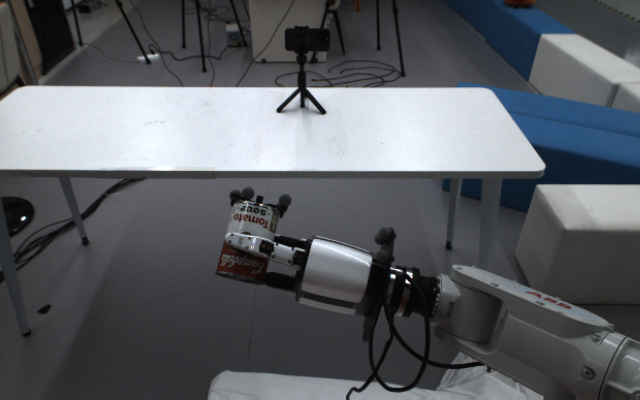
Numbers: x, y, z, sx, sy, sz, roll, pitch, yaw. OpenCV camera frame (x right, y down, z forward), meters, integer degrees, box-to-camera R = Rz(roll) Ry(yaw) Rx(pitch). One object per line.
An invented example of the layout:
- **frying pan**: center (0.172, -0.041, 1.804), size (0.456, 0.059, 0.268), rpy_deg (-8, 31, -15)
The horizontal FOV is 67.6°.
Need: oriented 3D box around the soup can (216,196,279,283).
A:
- **soup can**: center (-0.097, 0.060, 0.664), size (0.067, 0.067, 0.101), rpy_deg (9, 74, 9)
